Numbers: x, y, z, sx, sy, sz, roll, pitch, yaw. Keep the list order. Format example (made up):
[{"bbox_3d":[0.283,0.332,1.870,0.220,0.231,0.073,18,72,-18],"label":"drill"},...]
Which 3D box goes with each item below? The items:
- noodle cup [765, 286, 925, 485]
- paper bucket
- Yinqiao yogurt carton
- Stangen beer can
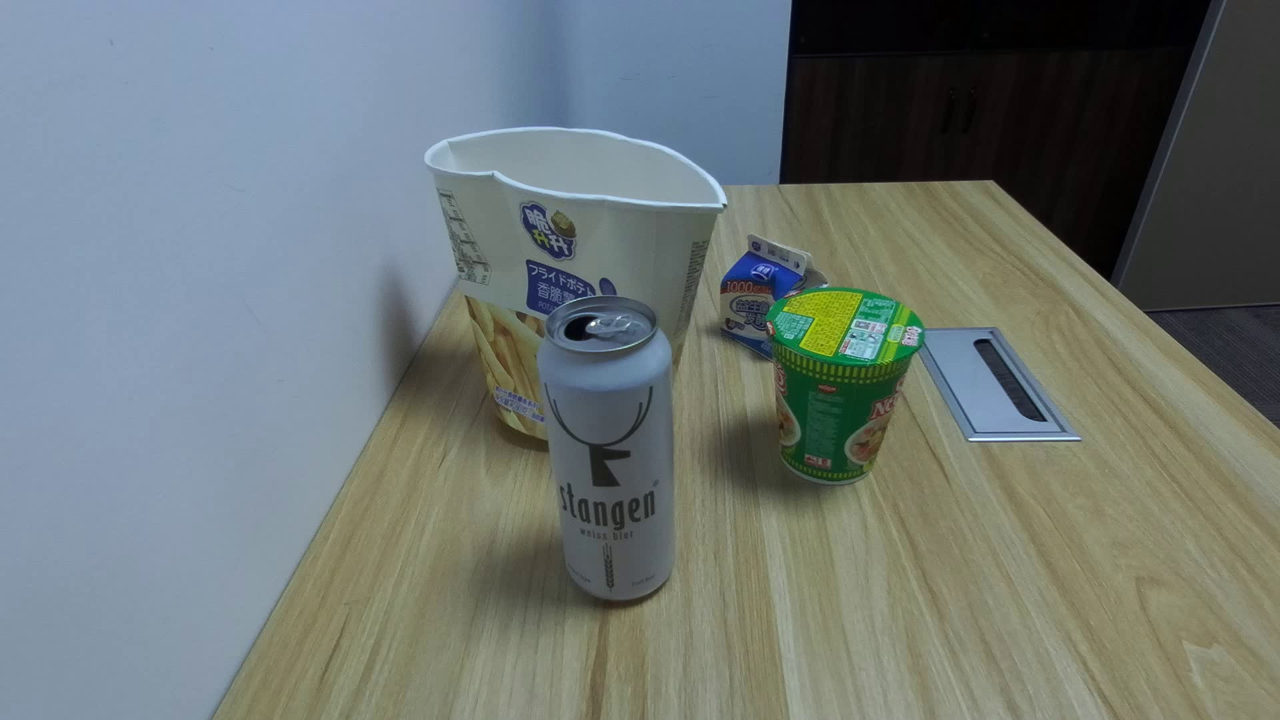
[{"bbox_3d":[0.132,0.021,0.475,0.097,0.110,0.097,-3,33,2],"label":"noodle cup"},{"bbox_3d":[-0.046,-0.054,0.517,0.218,0.199,0.147,1,33,6],"label":"paper bucket"},{"bbox_3d":[0.116,-0.057,0.609,0.071,0.094,0.077,-21,36,-27],"label":"Yinqiao yogurt carton"},{"bbox_3d":[-0.014,0.053,0.382,0.067,0.171,0.067,-1,33,1],"label":"Stangen beer can"}]
